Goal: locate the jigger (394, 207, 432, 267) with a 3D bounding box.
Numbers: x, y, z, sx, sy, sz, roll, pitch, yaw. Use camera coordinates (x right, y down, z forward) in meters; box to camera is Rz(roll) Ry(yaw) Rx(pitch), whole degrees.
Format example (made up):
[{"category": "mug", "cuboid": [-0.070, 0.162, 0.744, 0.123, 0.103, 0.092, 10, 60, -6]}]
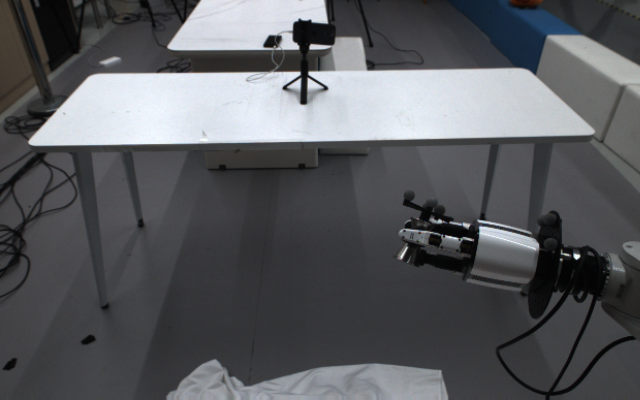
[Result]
[{"category": "jigger", "cuboid": [0.143, 0.062, 0.739, 0.043, 0.071, 0.043, 24, -3, 1]}]
